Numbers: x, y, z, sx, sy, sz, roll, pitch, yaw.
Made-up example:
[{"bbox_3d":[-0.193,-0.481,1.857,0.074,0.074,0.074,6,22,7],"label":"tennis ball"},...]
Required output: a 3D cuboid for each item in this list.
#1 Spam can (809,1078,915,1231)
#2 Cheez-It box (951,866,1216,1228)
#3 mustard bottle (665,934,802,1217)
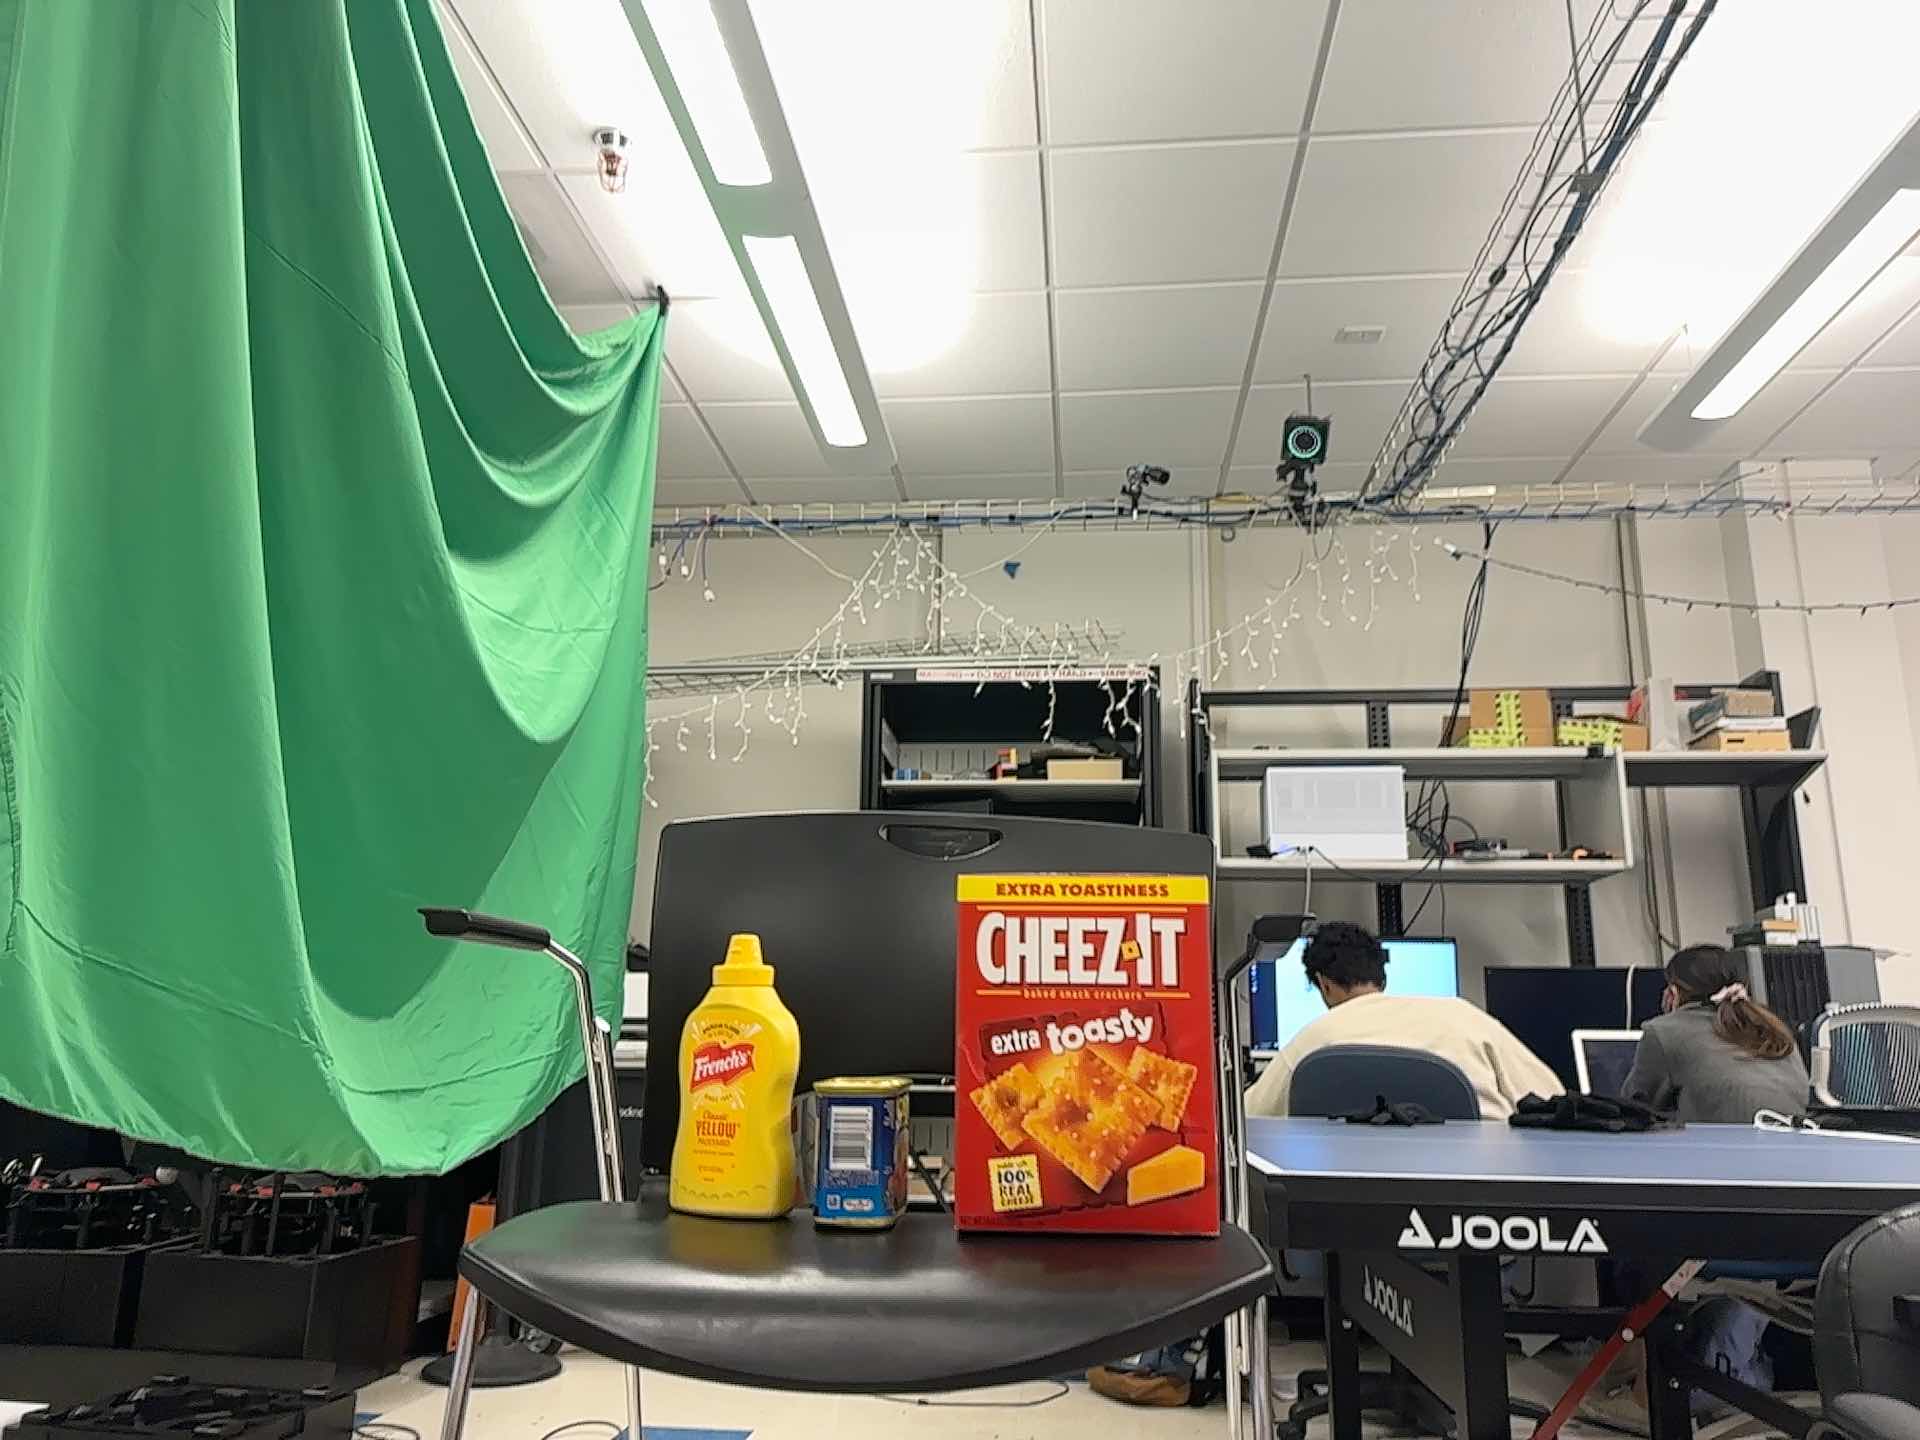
[{"bbox_3d":[-0.066,0.287,0.902,0.056,0.083,0.100,0,-10,8],"label":"Spam can"},{"bbox_3d":[0.079,0.210,0.881,0.159,0.214,0.062,-1,-13,7],"label":"Cheez-It box"},{"bbox_3d":[-0.153,0.240,0.926,0.092,0.184,0.054,-3,-11,22],"label":"mustard bottle"}]
